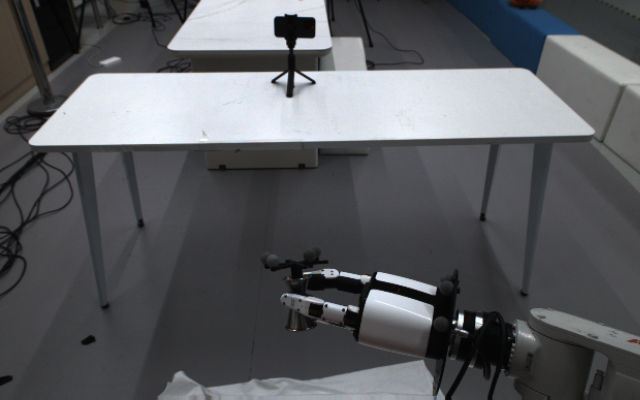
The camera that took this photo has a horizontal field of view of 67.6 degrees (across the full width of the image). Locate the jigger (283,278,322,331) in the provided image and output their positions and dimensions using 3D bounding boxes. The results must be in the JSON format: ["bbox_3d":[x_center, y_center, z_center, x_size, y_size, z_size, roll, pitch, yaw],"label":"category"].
[{"bbox_3d":[-0.028,0.136,0.650,0.043,0.071,0.043,-4,1,0],"label":"jigger"}]
